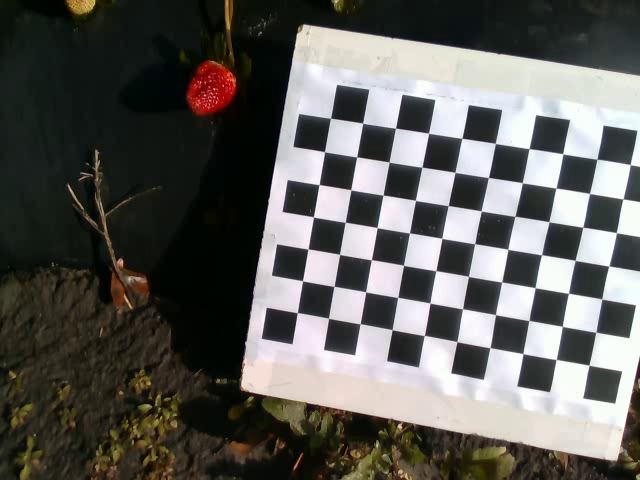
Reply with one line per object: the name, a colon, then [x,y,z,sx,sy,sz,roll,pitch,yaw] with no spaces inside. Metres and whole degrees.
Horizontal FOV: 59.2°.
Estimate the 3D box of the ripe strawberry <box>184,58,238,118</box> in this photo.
ripe strawberry: [-0.031,-0.039,0.149,0.015,0.015,0.023,17,43,2]
